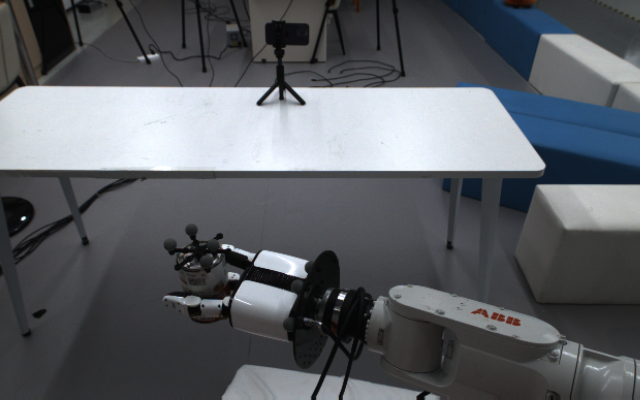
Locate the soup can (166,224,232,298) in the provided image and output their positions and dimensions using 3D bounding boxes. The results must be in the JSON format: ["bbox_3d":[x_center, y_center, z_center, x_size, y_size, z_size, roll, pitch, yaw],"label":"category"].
[{"bbox_3d":[-0.164,0.120,0.696,0.067,0.101,0.067,-1,32,1],"label":"soup can"}]
